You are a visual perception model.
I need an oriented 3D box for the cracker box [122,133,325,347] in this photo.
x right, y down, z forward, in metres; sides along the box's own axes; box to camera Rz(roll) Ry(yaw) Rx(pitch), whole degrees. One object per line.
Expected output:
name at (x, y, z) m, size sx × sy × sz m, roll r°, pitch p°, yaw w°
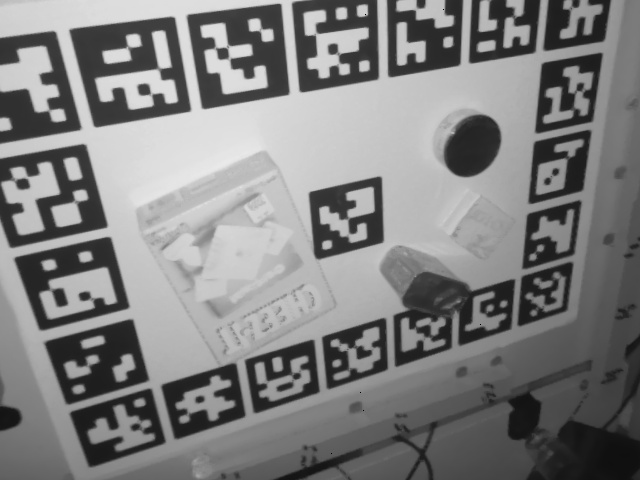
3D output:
cracker box at (-0.107, 0.005, 0.823) m, size 0.165 × 0.072 × 0.213 m, roll -27°, pitch 125°, yaw -5°

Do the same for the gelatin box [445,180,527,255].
gelatin box at (0.229, -0.030, 0.959) m, size 0.090 × 0.030 × 0.073 m, roll 29°, pitch 106°, yaw -29°

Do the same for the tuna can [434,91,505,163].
tuna can at (0.188, -0.143, 0.876) m, size 0.087 × 0.033 × 0.085 m, roll -9°, pitch 116°, yaw -18°

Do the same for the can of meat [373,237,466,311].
can of meat at (0.132, 0.044, 0.936) m, size 0.103 × 0.083 × 0.057 m, roll 16°, pitch 111°, yaw -29°
